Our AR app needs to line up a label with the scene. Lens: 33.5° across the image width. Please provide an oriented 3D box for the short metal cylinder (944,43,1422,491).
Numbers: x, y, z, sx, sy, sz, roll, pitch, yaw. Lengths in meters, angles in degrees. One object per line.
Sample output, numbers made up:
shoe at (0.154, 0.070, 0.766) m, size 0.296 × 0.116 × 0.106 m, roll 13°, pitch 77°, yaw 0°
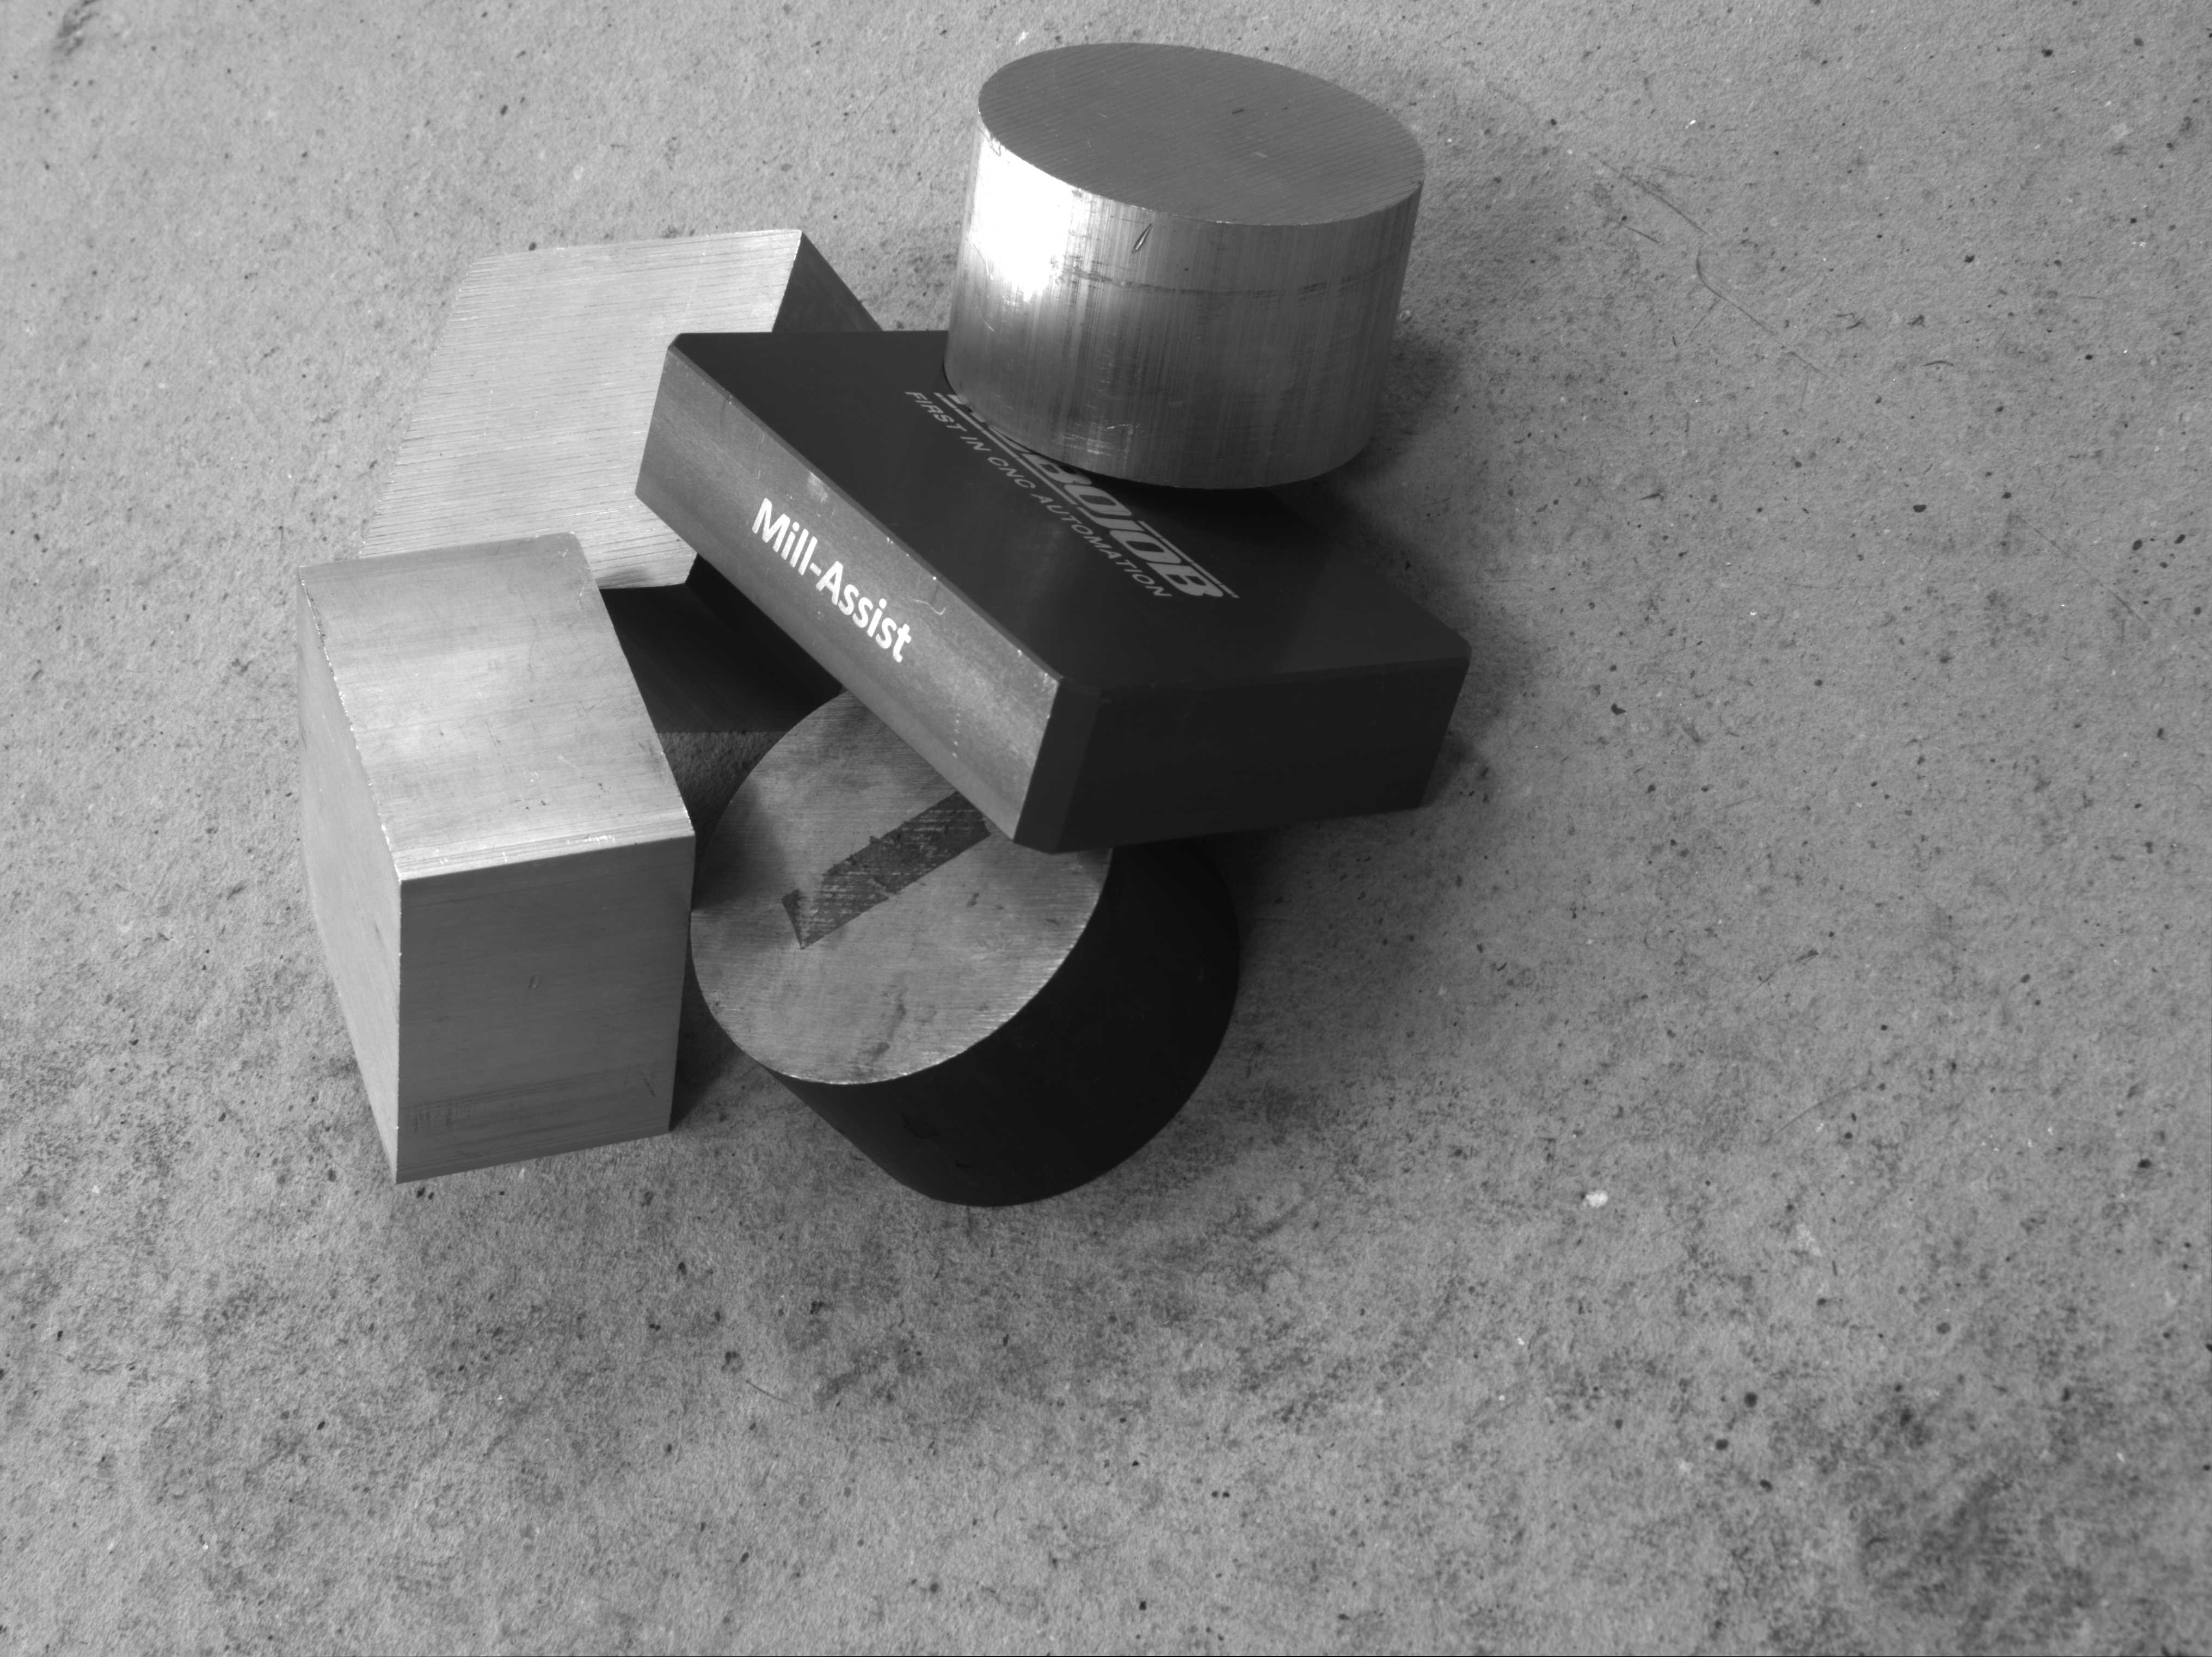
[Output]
short metal cylinder at (0.013, -0.102, 0.660) m, size 0.080 × 0.050 × 0.080 m, roll 7°, pitch 33°, yaw -4°

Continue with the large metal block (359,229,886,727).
large metal block at (-0.091, -0.067, 0.718) m, size 0.080 × 0.050 × 0.080 m, roll 1°, pitch 62°, yaw 29°

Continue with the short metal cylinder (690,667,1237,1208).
short metal cylinder at (-0.024, 0.018, 0.632) m, size 0.080 × 0.050 × 0.080 m, roll -14°, pitch 56°, yaw 21°

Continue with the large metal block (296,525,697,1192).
large metal block at (-0.111, 0.005, 0.659) m, size 0.050 × 0.080 × 0.080 m, roll -10°, pitch 49°, yaw -20°

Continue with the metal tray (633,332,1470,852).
metal tray at (-0.011, -0.045, 0.640) m, size 0.130 × 0.090 × 0.030 m, roll 42°, pitch 125°, yaw 39°
